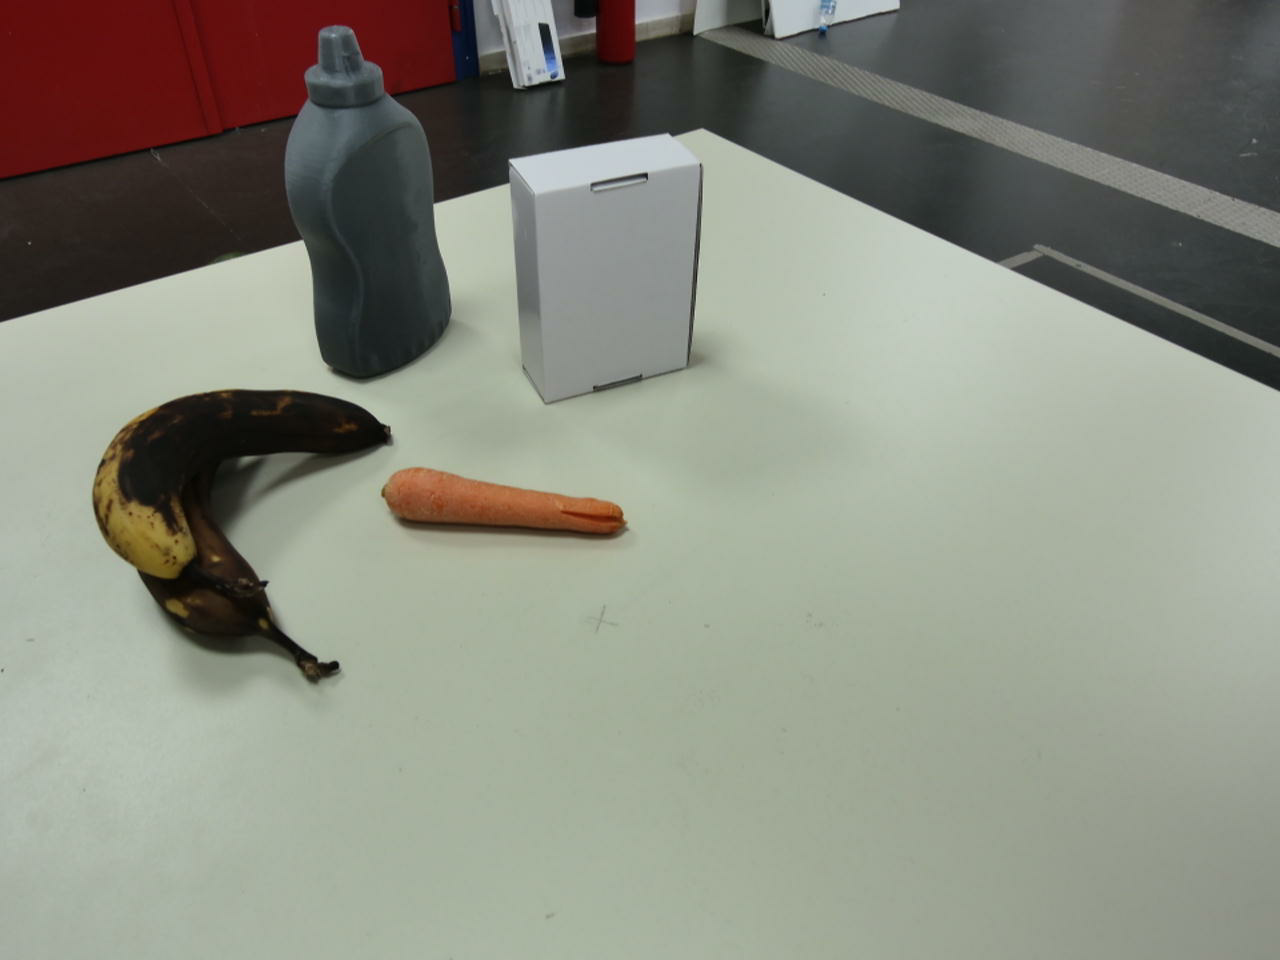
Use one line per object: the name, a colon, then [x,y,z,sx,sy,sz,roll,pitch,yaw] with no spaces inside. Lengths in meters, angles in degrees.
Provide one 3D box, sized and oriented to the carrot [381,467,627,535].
carrot: [-0.075,0.012,0.547,0.136,0.032,0.030,5,38,6]
